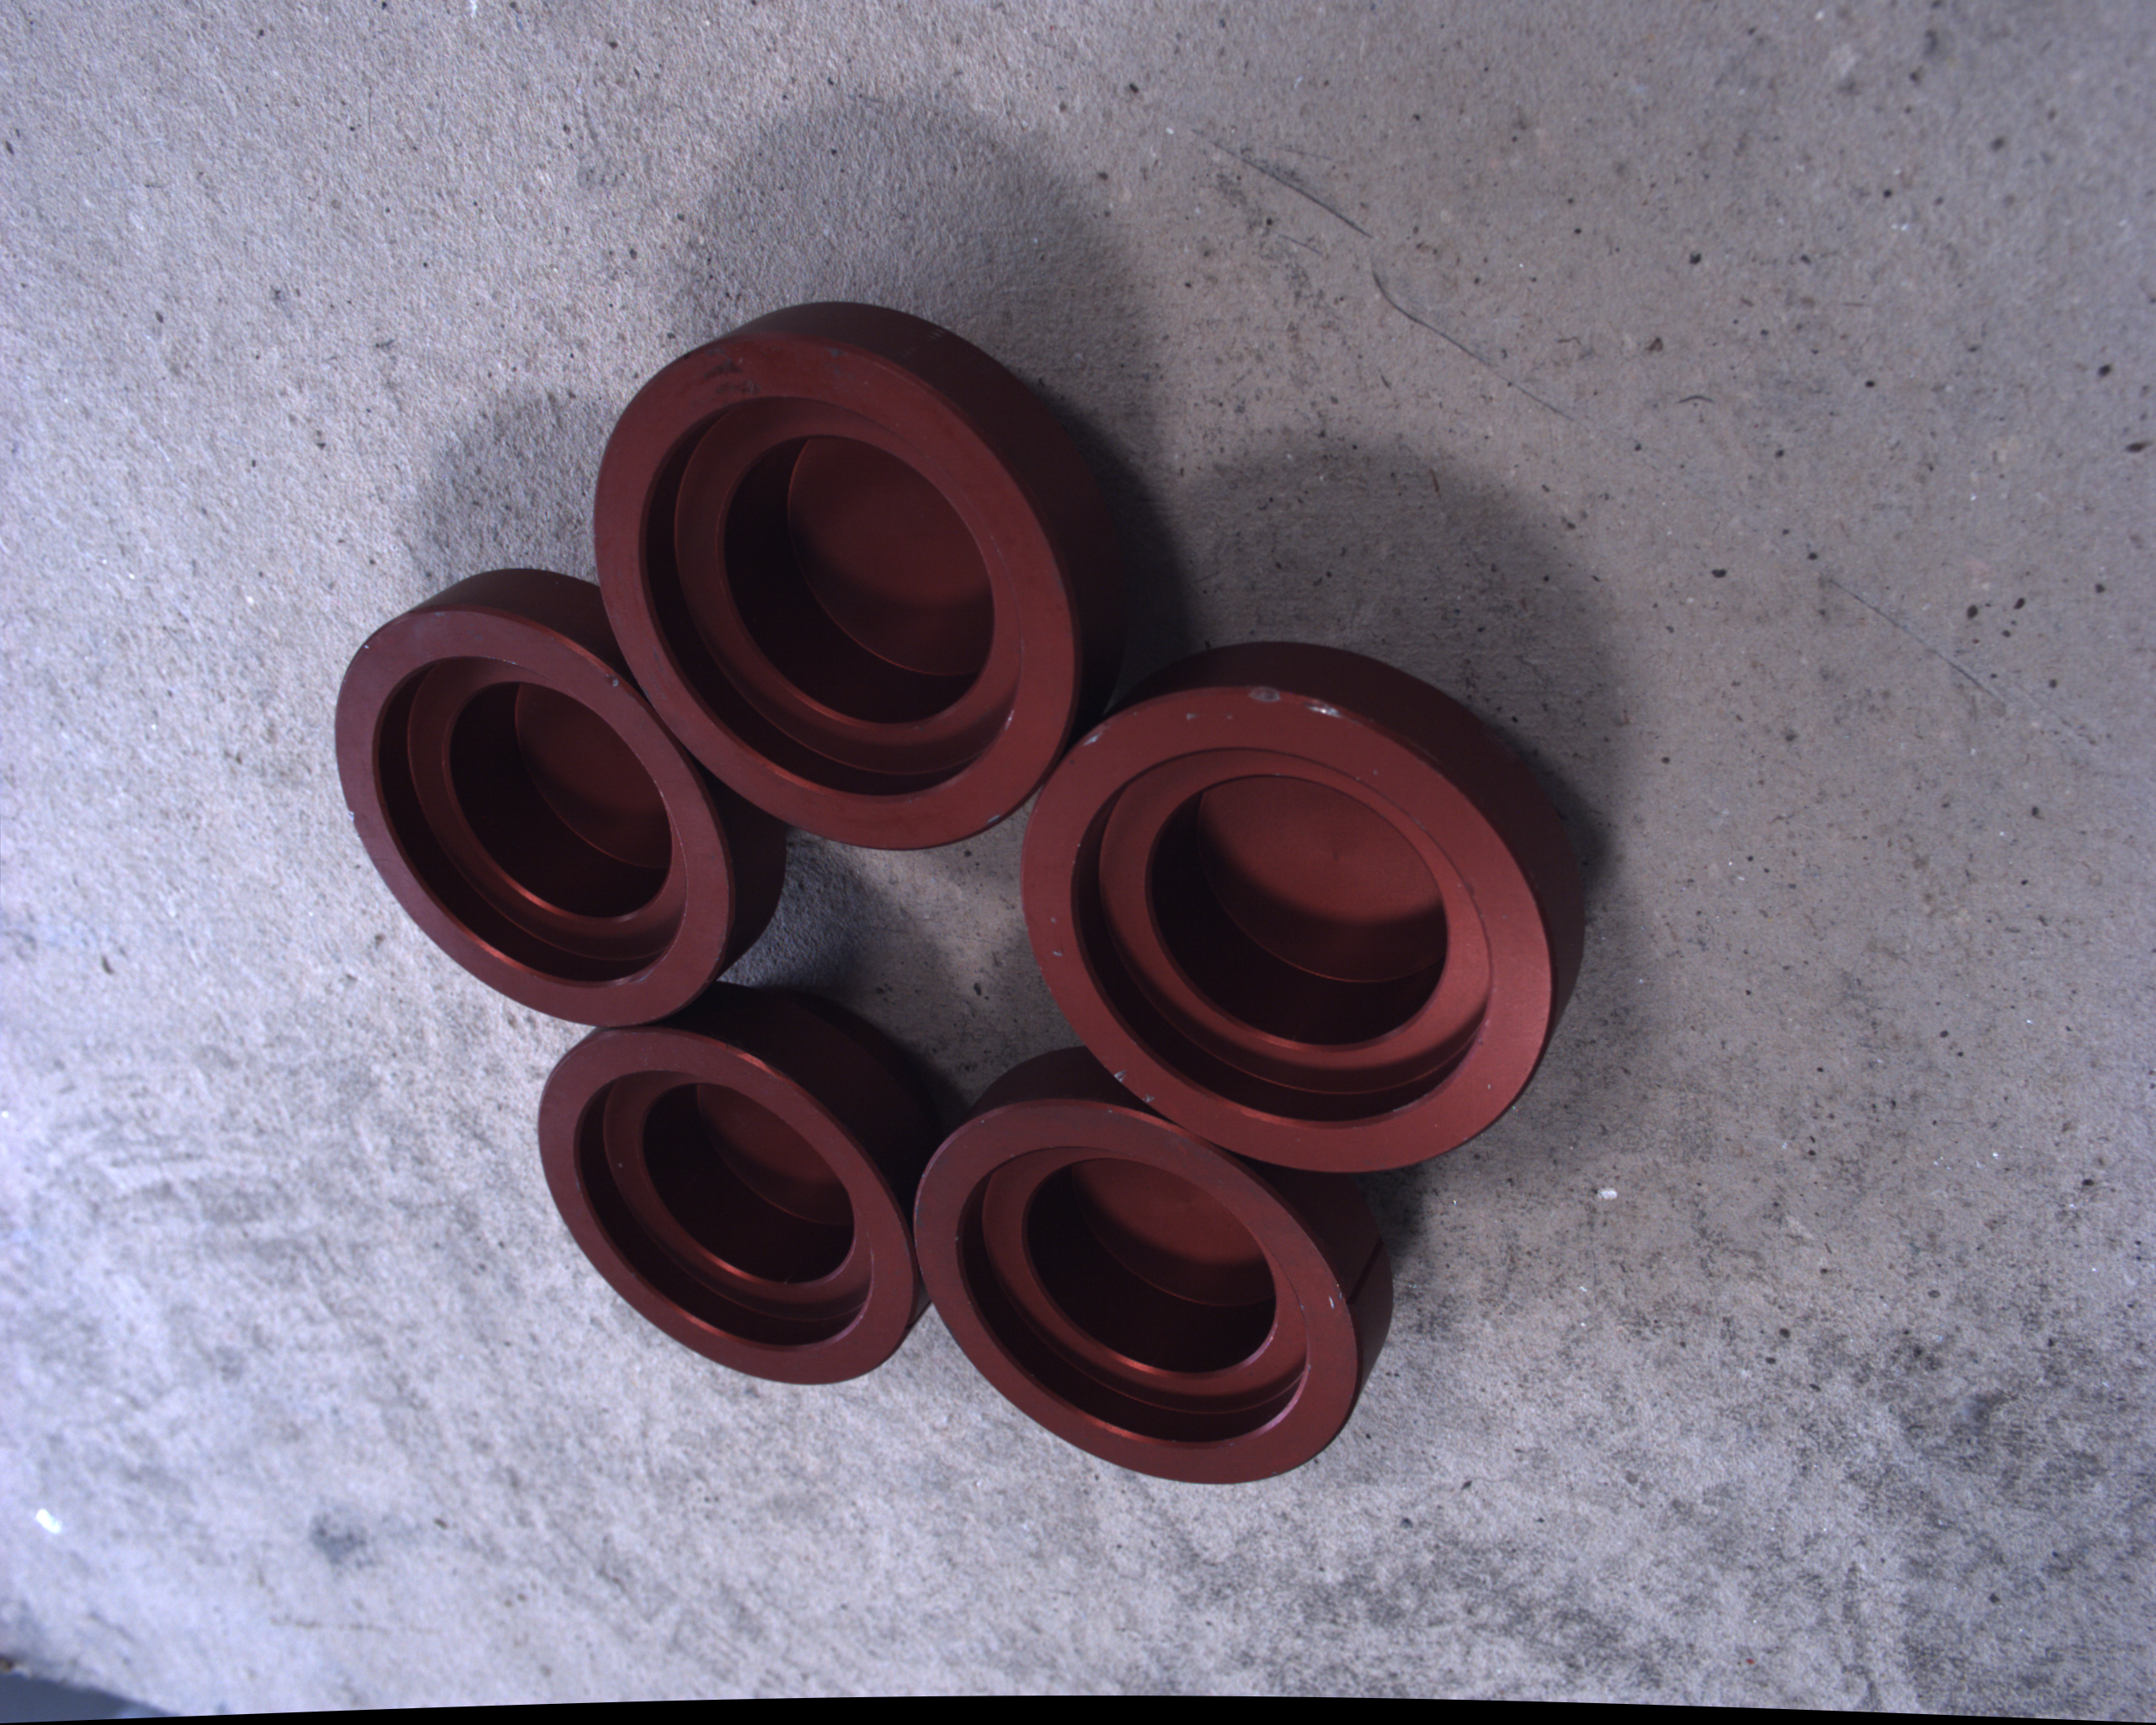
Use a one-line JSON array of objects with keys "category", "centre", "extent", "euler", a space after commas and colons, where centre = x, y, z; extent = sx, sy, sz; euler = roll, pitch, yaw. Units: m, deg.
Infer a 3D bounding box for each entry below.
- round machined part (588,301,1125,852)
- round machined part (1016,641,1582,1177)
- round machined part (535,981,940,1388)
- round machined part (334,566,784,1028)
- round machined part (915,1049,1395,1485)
[{"category": "round machined part", "centre": [-0.036, -0.054, 0.382], "extent": [0.098, 0.042, 0.097], "euler": [12, 122, 20]}, {"category": "round machined part", "centre": [0.042, 0.005, 0.377], "extent": [0.098, 0.042, 0.097], "euler": [12, 122, 20]}, {"category": "round machined part", "centre": [-0.071, 0.068, 0.476], "extent": [0.098, 0.042, 0.097], "euler": [12, 122, 20]}, {"category": "round machined part", "centre": [-0.104, -0.017, 0.442], "extent": [0.098, 0.042, 0.097], "euler": [13, 122, 21]}, {"category": "round machined part", "centre": [0.019, 0.079, 0.436], "extent": [0.098, 0.042, 0.097], "euler": [12, 123, 20]}]
